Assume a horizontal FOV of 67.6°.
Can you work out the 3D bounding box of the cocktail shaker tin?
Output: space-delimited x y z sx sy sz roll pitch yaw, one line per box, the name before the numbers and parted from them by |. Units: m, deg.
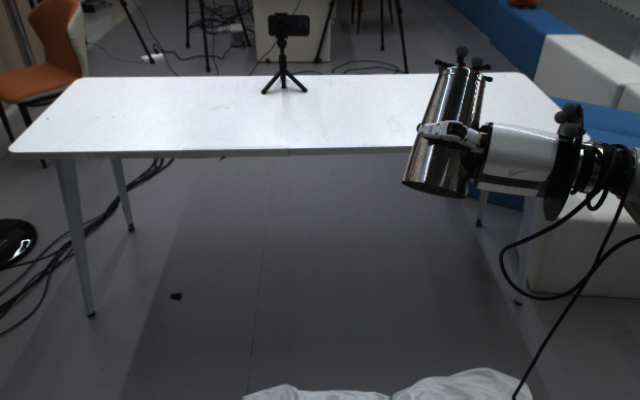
cocktail shaker tin | 0.182 -0.096 0.686 0.093 0.170 0.093 16 -4 1
